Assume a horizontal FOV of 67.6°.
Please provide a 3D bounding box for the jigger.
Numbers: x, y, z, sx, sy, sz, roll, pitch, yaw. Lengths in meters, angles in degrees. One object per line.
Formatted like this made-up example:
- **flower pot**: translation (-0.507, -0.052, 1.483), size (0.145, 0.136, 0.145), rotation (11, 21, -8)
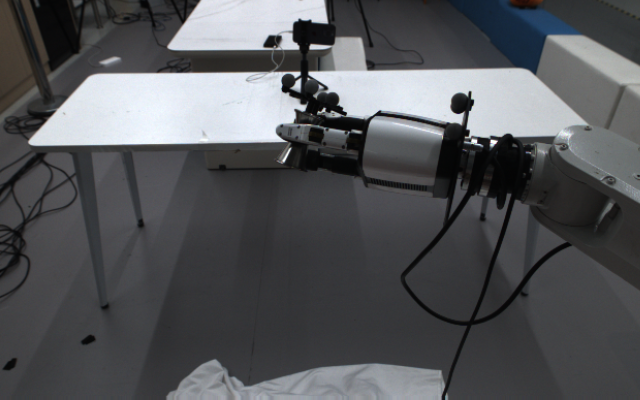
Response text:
- **jigger**: translation (-0.025, -0.074, 0.595), size (0.043, 0.071, 0.043), rotation (22, 6, -2)
